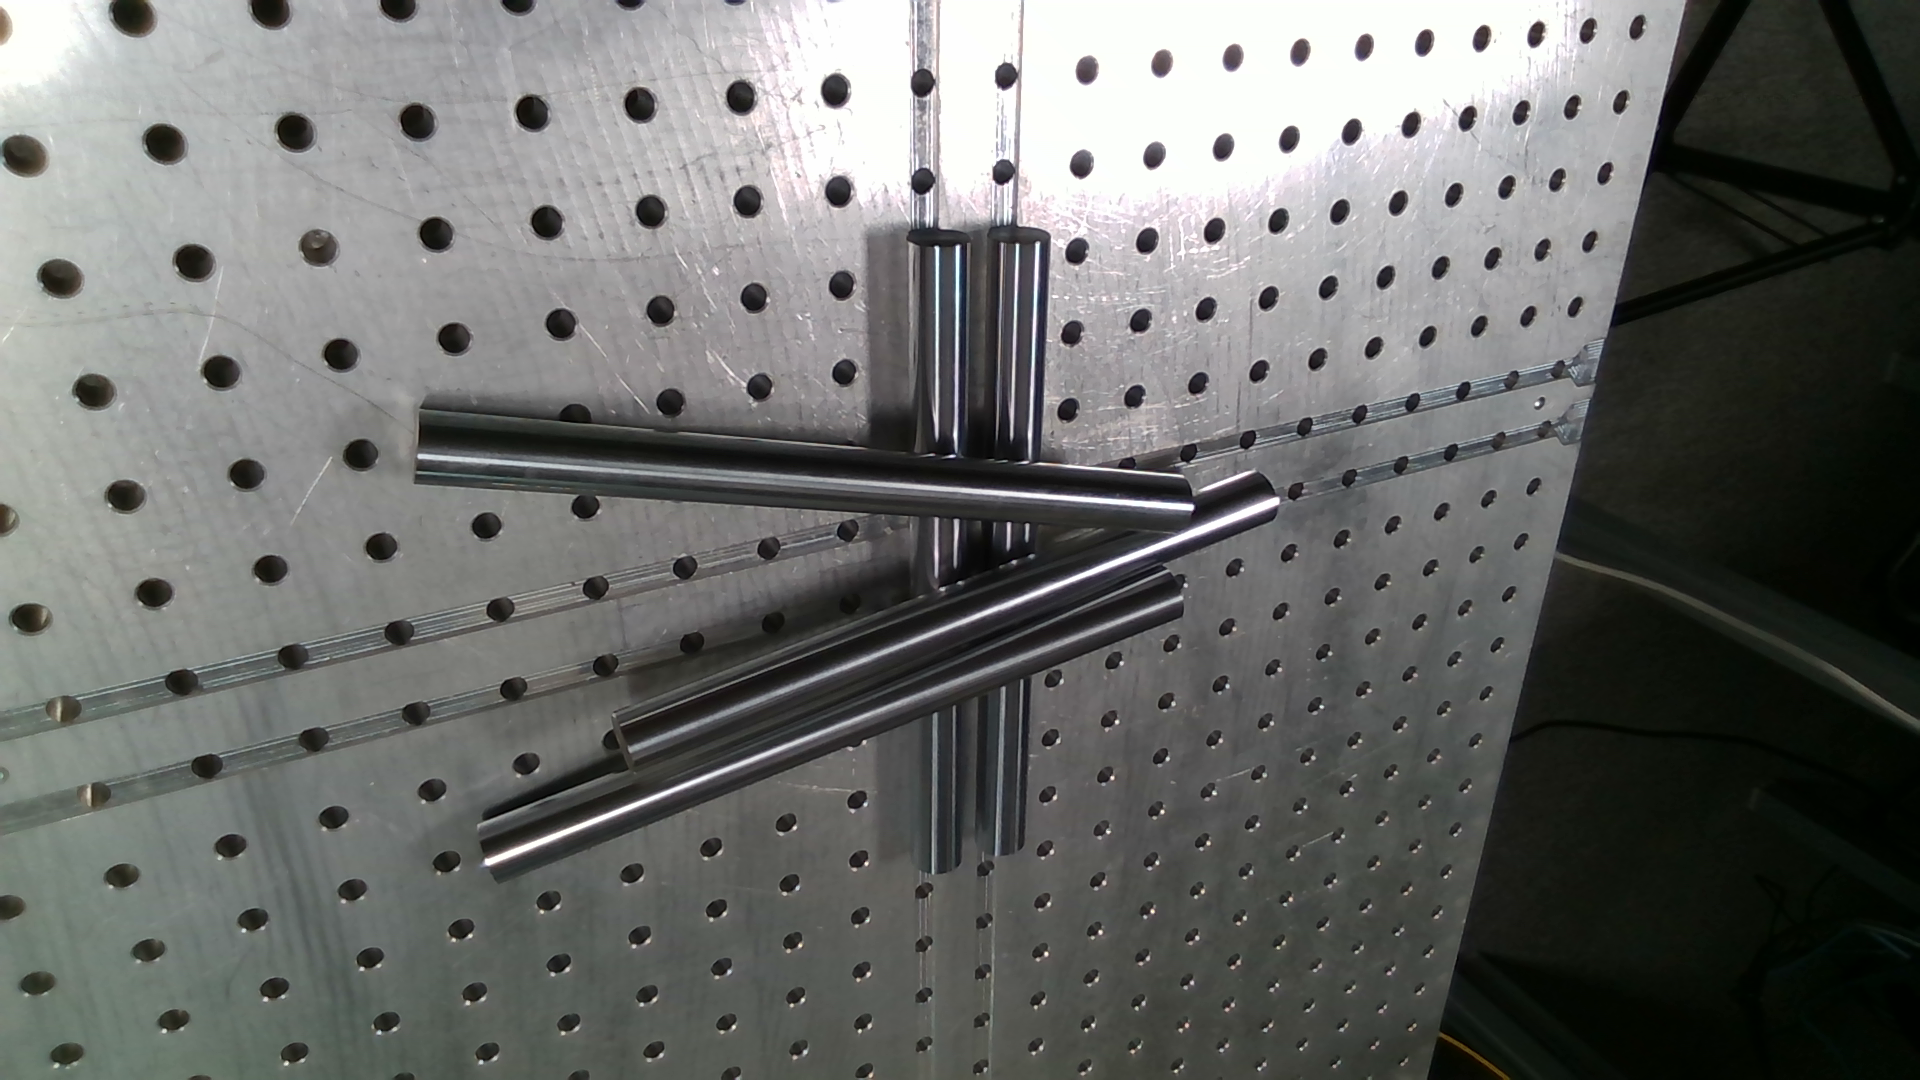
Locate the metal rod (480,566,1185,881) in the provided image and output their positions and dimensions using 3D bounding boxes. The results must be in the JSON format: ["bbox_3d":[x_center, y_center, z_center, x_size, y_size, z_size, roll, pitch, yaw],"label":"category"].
[{"bbox_3d":[-0.045,0.072,0.571,0.300,0.025,0.025,-20,124,-13],"label":"metal rod"}]

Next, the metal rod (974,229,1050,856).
[{"bbox_3d":[0.021,0.014,0.605,0.025,0.025,0.301,-14,121,-25],"label":"metal rod"}]

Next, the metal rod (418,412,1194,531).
[{"bbox_3d":[-0.044,-0.023,0.521,0.300,0.025,0.025,3,113,-25],"label":"metal rod"}]

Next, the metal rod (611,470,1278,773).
[{"bbox_3d":[0.005,0.028,0.570,0.300,0.025,0.025,-20,124,-21],"label":"metal rod"}]

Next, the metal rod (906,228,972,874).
[{"bbox_3d":[-0.010,0.019,0.588,0.025,0.025,0.301,-14,121,-25],"label":"metal rod"}]
